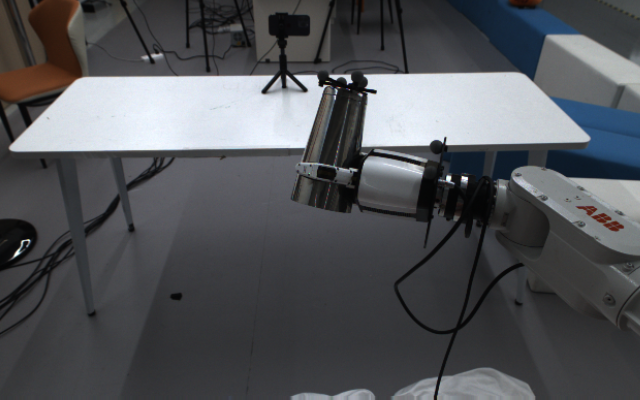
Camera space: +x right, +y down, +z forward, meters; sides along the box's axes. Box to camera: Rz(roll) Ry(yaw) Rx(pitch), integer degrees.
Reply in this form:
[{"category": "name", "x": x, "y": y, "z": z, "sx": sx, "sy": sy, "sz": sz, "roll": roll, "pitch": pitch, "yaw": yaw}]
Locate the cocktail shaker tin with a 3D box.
[{"category": "cocktail shaker tin", "x": 0.019, "y": -0.075, "z": 0.712, "sx": 0.093, "sy": 0.170, "sz": 0.093, "roll": 13, "pitch": 4, "yaw": -1}]
